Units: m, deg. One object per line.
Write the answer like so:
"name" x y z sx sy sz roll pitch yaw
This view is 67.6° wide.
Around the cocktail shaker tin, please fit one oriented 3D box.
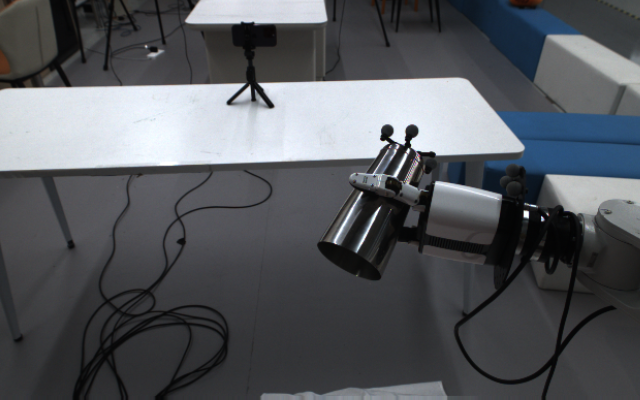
"cocktail shaker tin" 0.078 0.006 0.642 0.093 0.093 0.170 20 67 24
